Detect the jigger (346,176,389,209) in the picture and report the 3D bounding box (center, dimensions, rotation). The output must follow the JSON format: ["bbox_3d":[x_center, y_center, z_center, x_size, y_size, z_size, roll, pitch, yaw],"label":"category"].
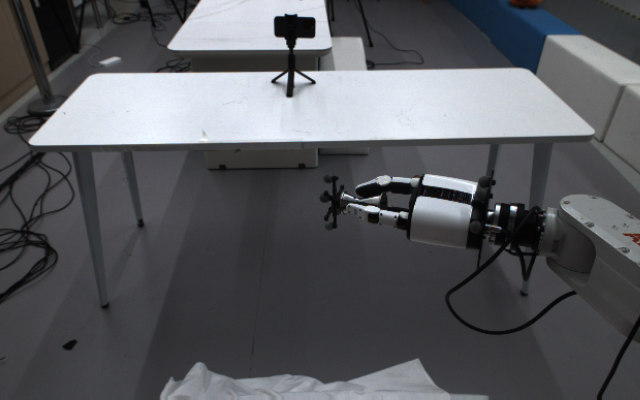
[{"bbox_3d":[0.077,0.003,0.785,0.071,0.043,0.043,4,33,23],"label":"jigger"}]
